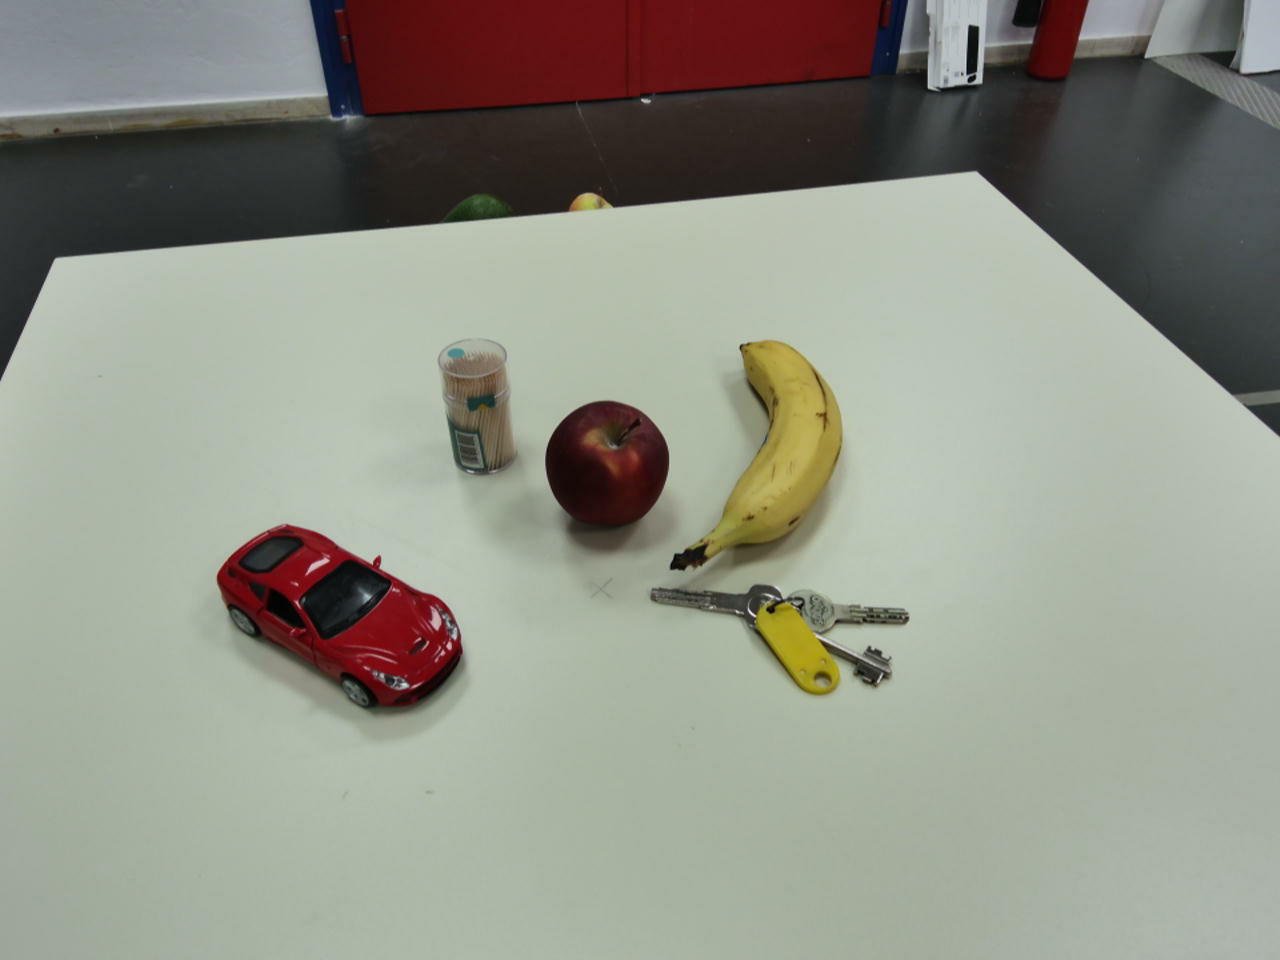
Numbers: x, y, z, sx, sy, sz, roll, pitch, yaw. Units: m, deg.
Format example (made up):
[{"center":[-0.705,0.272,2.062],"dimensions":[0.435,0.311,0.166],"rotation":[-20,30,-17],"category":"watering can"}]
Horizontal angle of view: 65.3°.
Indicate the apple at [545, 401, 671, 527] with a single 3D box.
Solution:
[{"center":[-0.018,-0.008,0.557],"dimensions":[0.070,0.072,0.070],"rotation":[0,39,0],"category":"apple"}]
